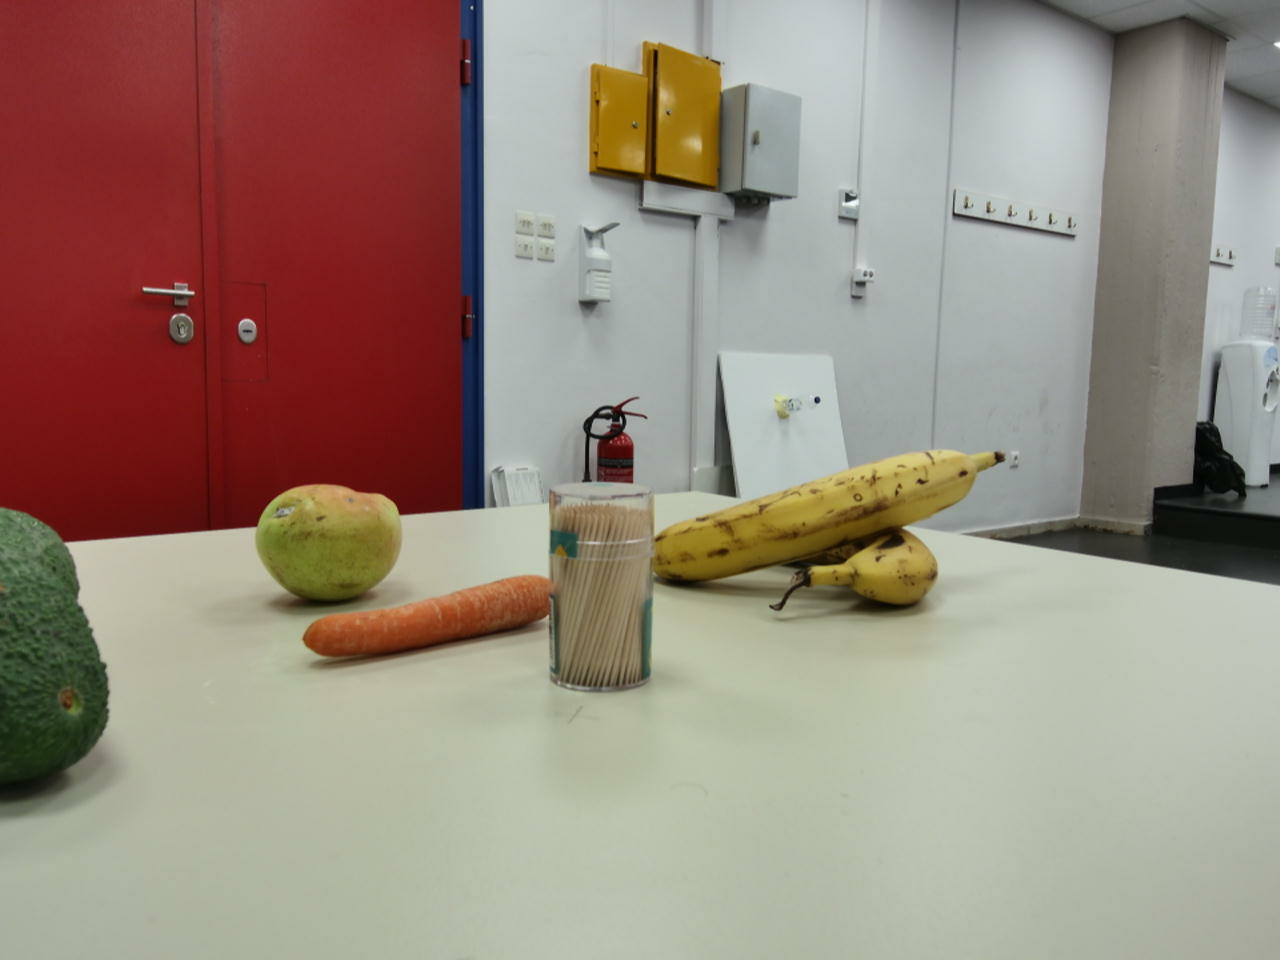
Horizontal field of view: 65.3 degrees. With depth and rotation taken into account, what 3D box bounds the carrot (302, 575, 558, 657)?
[{"bbox_3d":[-0.087,0.059,0.437,0.122,0.023,0.024,-4,6,-41],"label":"carrot"}]
